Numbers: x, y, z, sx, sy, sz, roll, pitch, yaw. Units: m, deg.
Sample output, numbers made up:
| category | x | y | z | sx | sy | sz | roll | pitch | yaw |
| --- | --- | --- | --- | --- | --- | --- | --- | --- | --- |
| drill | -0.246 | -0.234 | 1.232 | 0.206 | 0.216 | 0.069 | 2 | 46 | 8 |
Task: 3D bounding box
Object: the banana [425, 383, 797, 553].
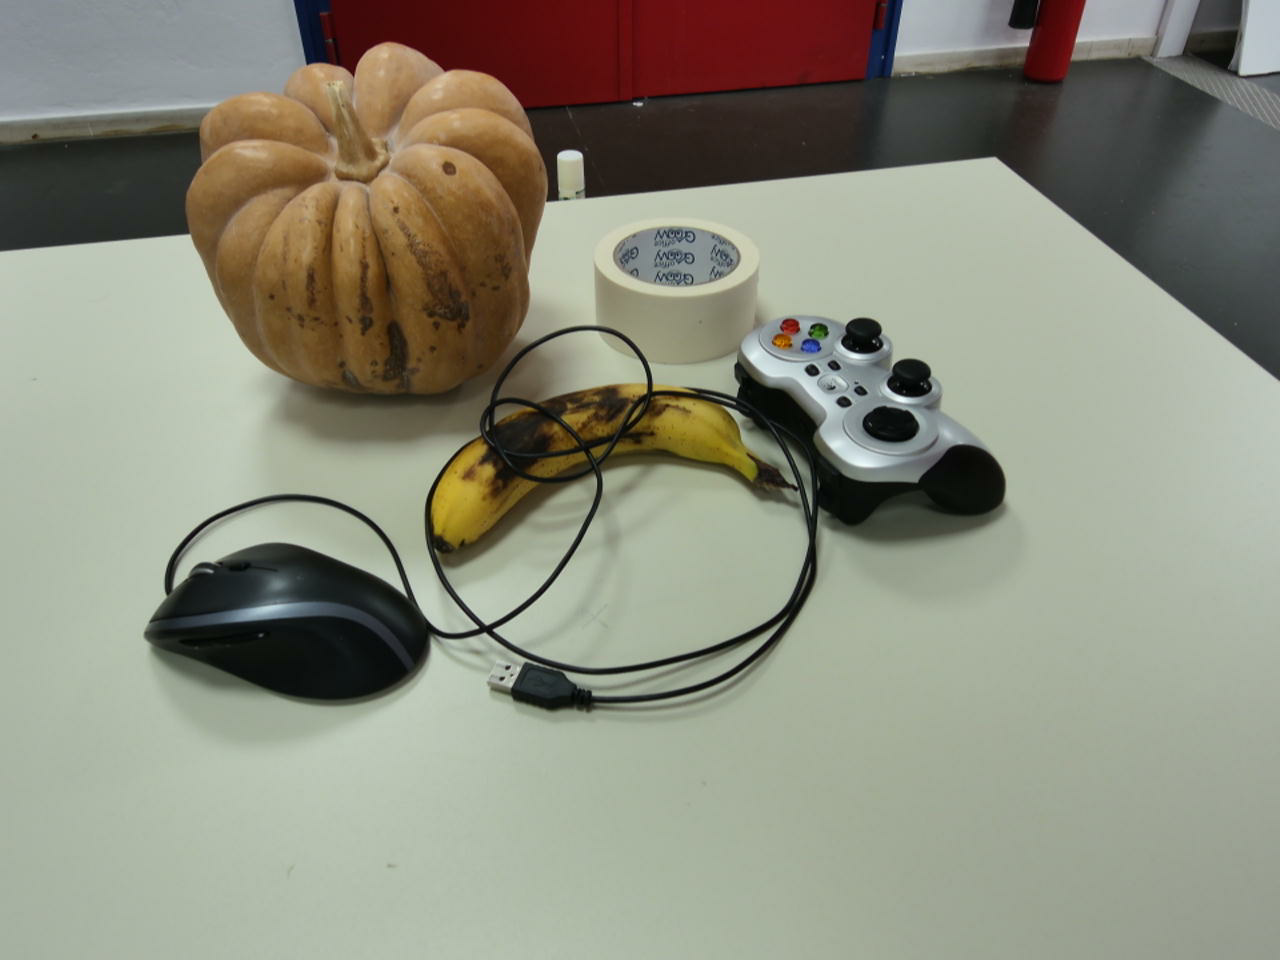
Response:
| category | x | y | z | sx | sy | sz | roll | pitch | yaw |
| --- | --- | --- | --- | --- | --- | --- | --- | --- | --- |
| banana | -0.023 | -0.014 | 0.527 | 0.187 | 0.039 | 0.094 | -9 | 40 | -12 |
